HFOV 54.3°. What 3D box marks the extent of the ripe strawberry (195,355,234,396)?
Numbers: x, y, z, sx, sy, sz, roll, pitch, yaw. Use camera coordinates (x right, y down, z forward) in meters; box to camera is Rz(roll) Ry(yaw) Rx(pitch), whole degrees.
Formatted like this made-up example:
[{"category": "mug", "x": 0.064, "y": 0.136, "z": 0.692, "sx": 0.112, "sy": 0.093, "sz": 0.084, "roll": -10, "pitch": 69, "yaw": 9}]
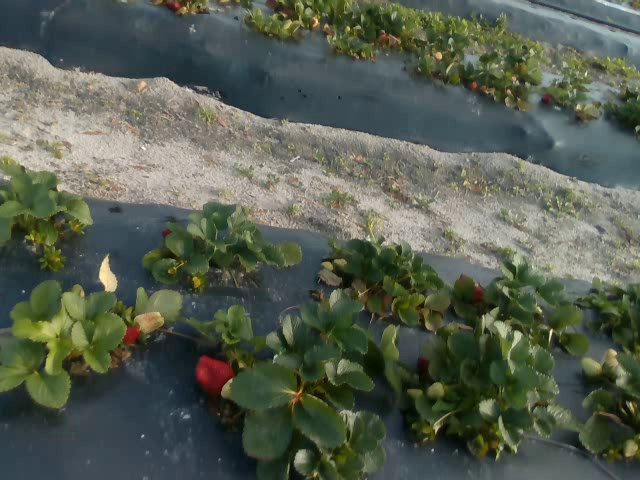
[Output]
[{"category": "ripe strawberry", "x": -0.161, "y": 0.200, "z": 0.915, "sx": 0.058, "sy": 0.071, "sz": 0.057, "roll": -48, "pitch": 22, "yaw": -27}]
